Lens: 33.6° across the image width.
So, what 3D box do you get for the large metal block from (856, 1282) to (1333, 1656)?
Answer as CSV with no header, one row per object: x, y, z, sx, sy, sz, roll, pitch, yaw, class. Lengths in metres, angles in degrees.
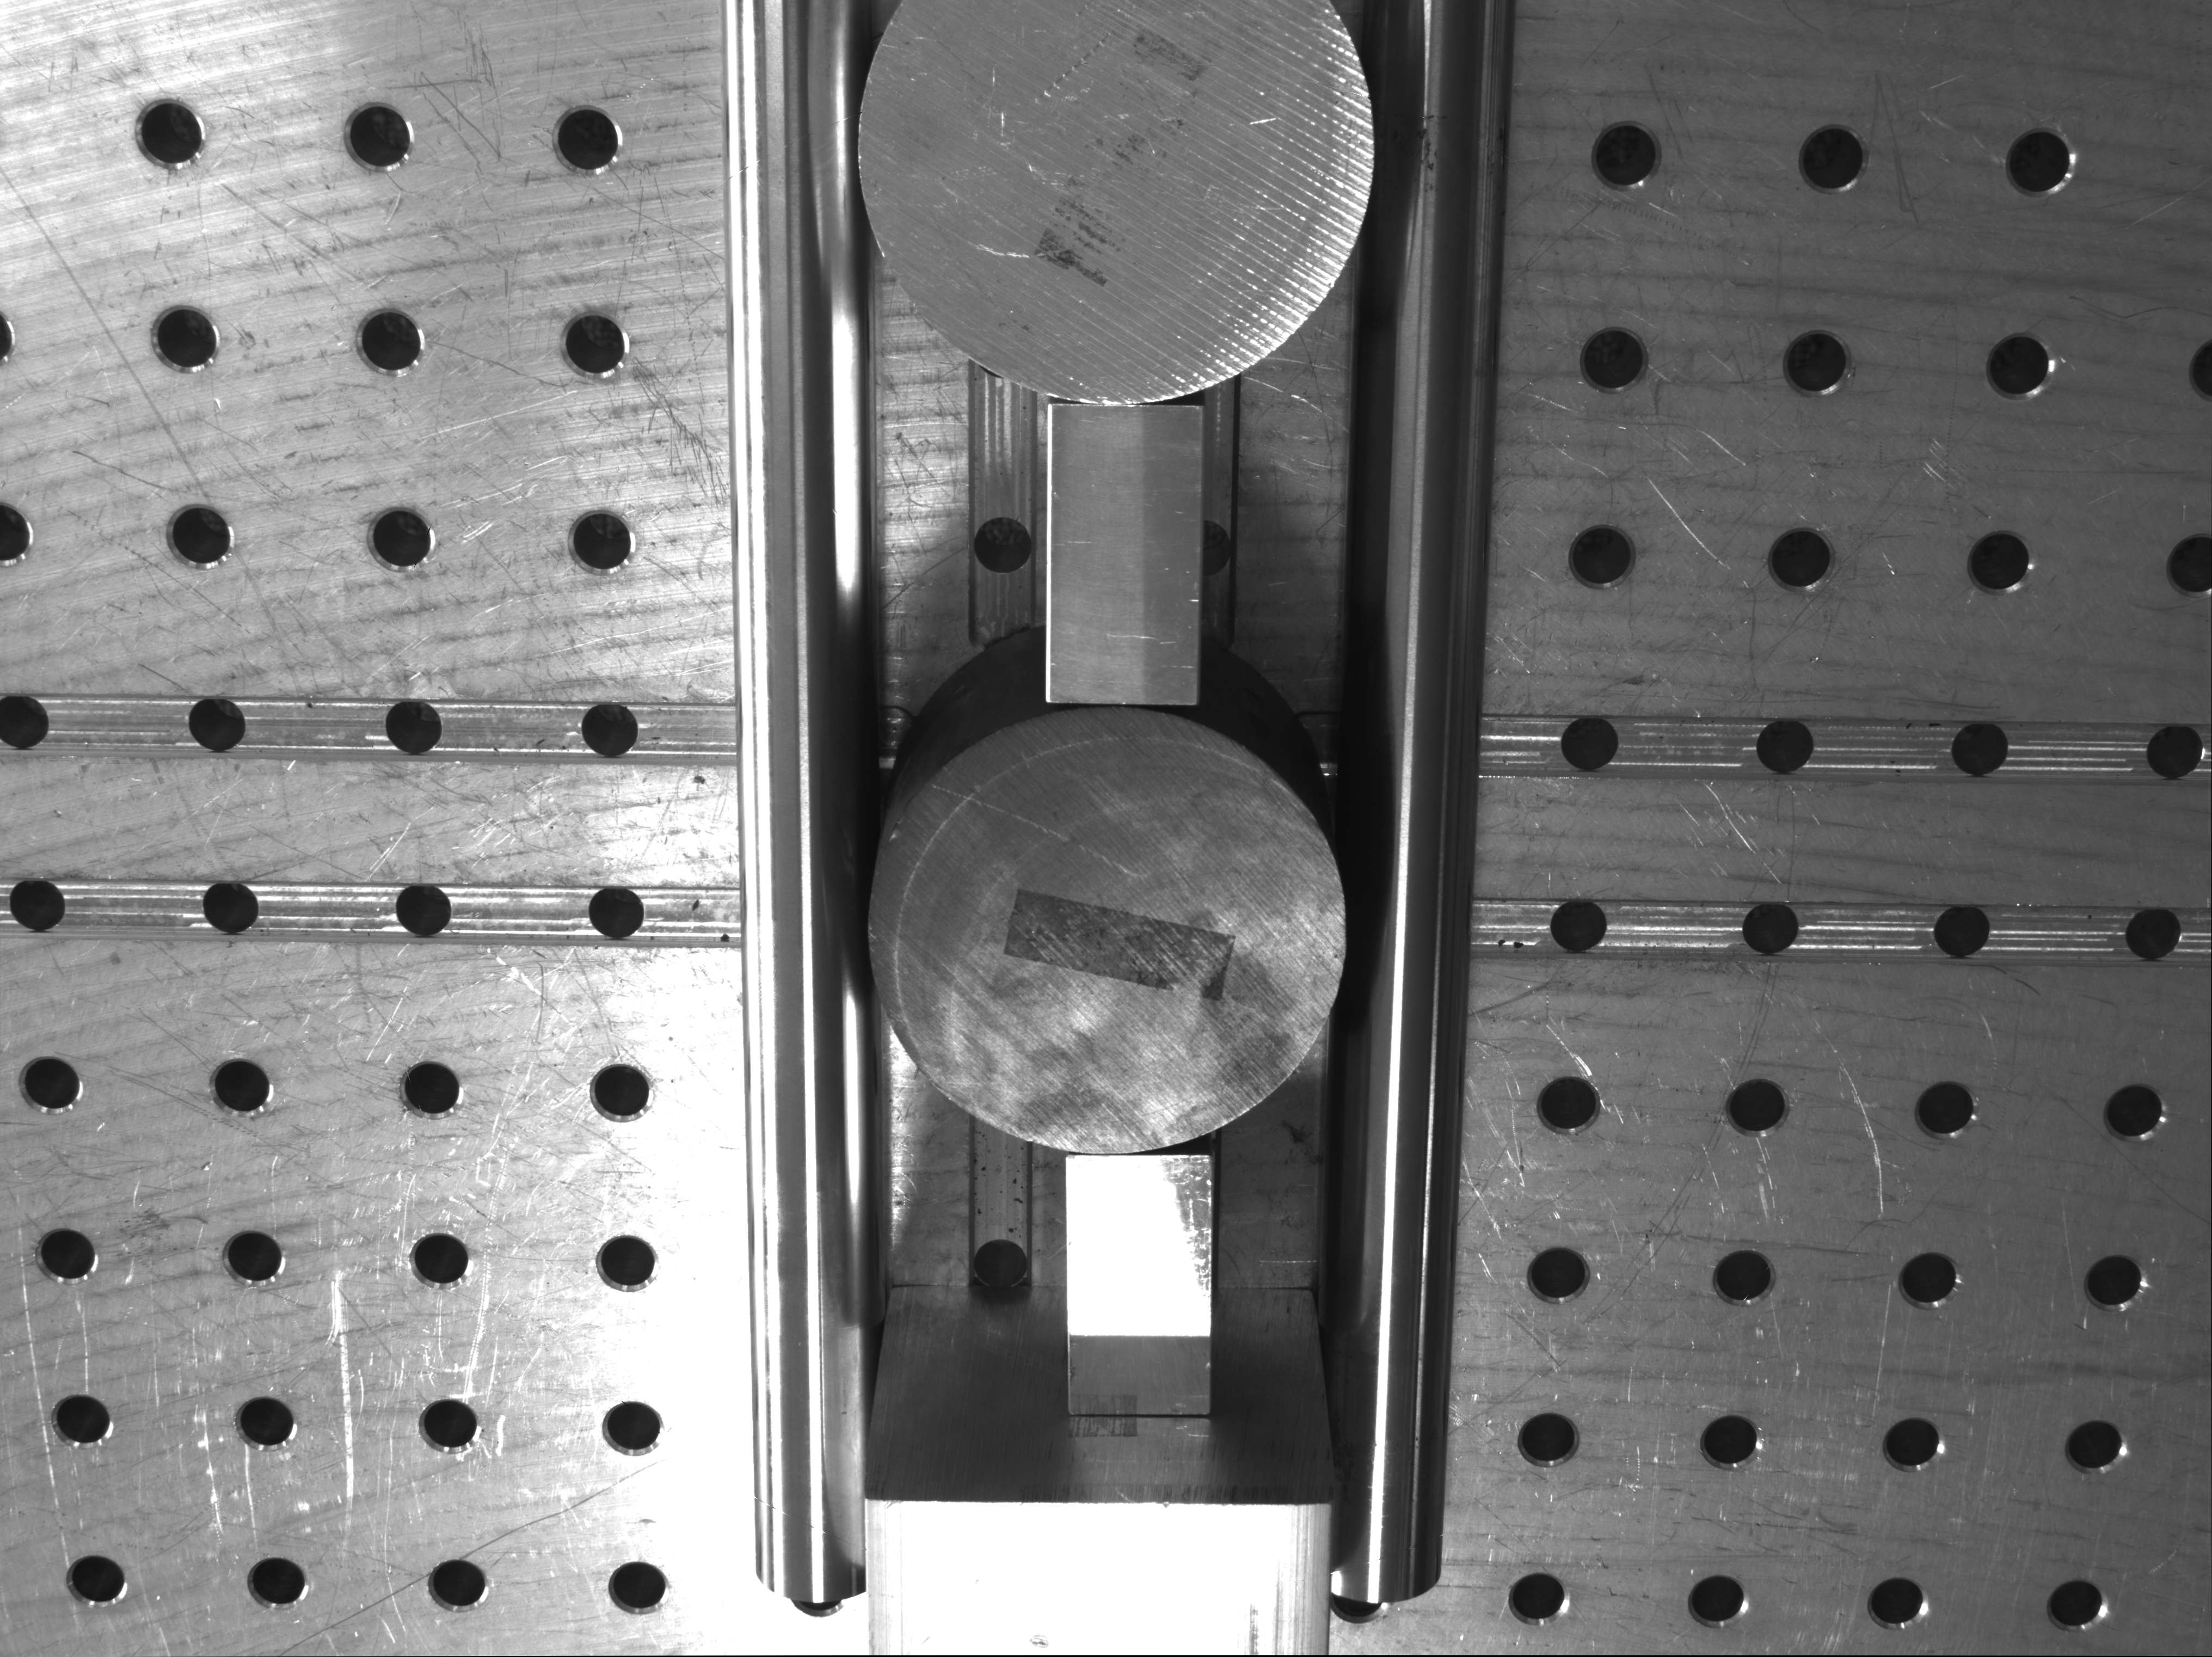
-0.002,0.123,0.661,0.080,0.080,0.050,1,110,0,large metal block

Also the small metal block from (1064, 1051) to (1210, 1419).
0.005,0.071,0.658,0.025,0.050,0.050,0,110,0,small metal block

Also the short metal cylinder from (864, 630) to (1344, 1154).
0.000,0.009,0.636,0.080,0.050,0.080,0,110,0,short metal cylinder

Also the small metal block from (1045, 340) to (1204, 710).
0.003,-0.052,0.613,0.025,0.050,0.050,1,110,0,small metal block

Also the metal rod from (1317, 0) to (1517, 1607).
0.053,0.000,0.645,0.025,0.025,0.300,1,110,0,metal rod

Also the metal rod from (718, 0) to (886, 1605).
-0.052,0.000,0.645,0.025,0.025,0.300,1,110,0,metal rod

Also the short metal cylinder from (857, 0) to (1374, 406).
0.002,-0.113,0.591,0.080,0.050,0.080,0,110,0,short metal cylinder
